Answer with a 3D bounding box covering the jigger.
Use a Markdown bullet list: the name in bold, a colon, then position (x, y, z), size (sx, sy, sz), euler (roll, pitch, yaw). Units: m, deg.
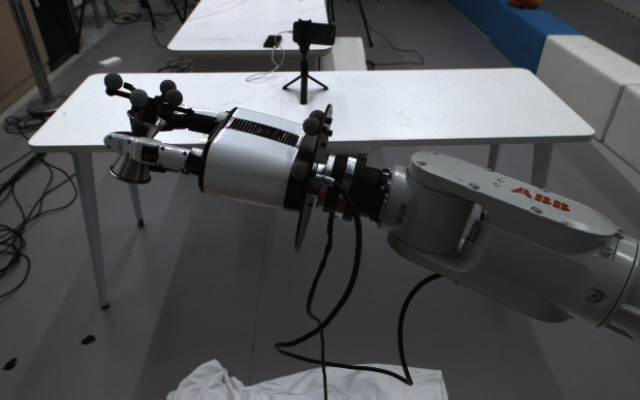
- **jigger**: position (-0.192, -0.056, 0.514), size (0.043, 0.071, 0.043), euler (22, 19, -8)
